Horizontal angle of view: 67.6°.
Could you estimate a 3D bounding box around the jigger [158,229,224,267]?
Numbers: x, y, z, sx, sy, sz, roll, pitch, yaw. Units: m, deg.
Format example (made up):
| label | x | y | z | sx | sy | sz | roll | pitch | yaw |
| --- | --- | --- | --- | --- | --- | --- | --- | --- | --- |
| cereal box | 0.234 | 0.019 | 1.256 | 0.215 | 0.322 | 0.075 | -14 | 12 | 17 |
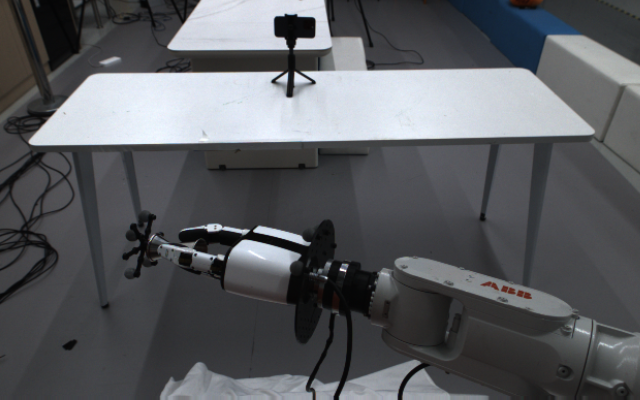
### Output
| label | x | y | z | sx | sy | sz | roll | pitch | yaw |
| --- | --- | --- | --- | --- | --- | --- | --- | --- | --- |
| jigger | -0.188 | 0.067 | 0.659 | 0.071 | 0.043 | 0.043 | 7 | 35 | 14 |
